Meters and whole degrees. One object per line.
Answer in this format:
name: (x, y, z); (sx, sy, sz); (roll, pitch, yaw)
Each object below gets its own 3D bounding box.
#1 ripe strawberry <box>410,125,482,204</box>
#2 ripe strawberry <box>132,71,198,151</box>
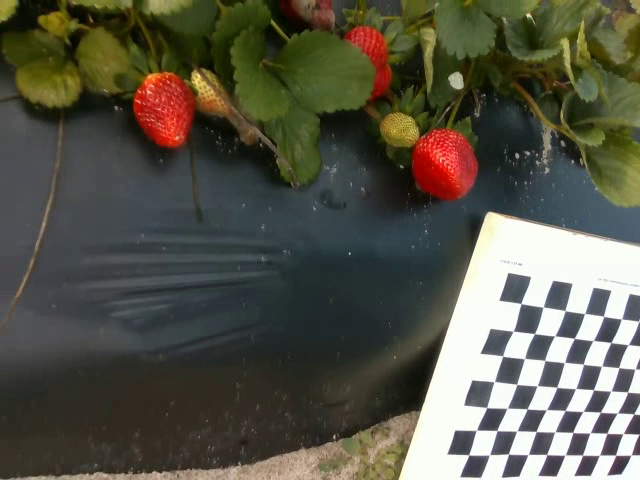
ripe strawberry: (0.040, -0.021, 0.174); (0.022, 0.025, 0.030); (0, 25, 4)
ripe strawberry: (-0.038, -0.030, 0.142); (0.018, 0.022, 0.017); (-12, -21, -19)
